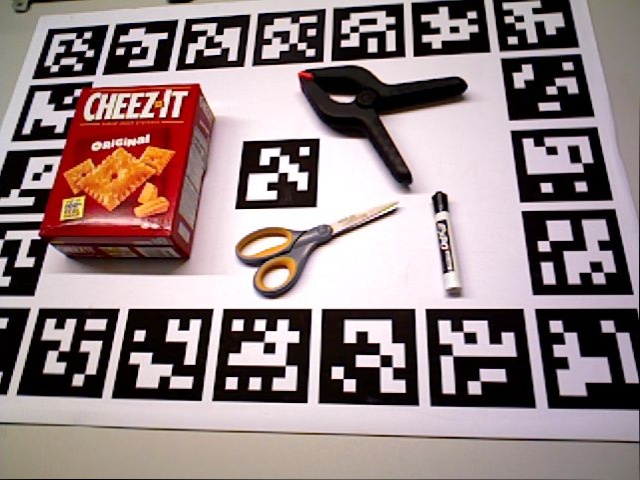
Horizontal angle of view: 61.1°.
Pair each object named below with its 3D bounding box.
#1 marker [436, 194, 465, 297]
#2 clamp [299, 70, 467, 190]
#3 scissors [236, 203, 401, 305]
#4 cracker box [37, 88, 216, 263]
[{"bbox_3d":[0.142,0.003,0.594,0.019,0.020,0.119,-4,64,6],"label":"marker"},{"bbox_3d":[0.059,-0.166,0.693,0.203,0.037,0.163,28,70,19],"label":"clamp"},{"bbox_3d":[0.001,0.000,0.617,0.201,0.016,0.087,-26,63,-7],"label":"scissors"},{"bbox_3d":[-0.228,-0.081,0.661,0.164,0.073,0.211,0,65,8],"label":"cracker box"}]
